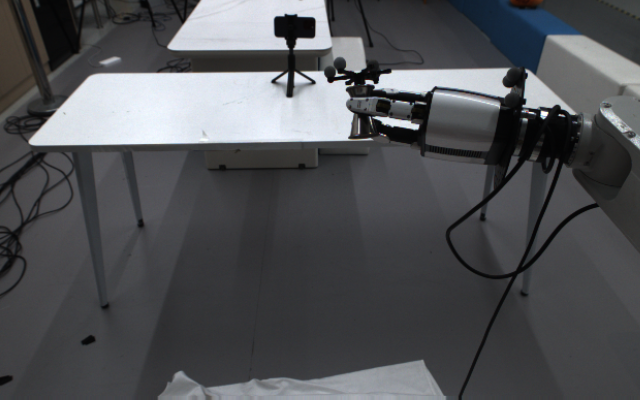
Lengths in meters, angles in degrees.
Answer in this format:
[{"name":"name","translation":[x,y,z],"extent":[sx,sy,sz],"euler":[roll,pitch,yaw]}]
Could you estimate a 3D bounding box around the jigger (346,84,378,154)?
[{"name":"jigger","translation":[0.057,-0.122,0.665],"extent":[0.043,0.071,0.043],"euler":[-4,1,0]}]
